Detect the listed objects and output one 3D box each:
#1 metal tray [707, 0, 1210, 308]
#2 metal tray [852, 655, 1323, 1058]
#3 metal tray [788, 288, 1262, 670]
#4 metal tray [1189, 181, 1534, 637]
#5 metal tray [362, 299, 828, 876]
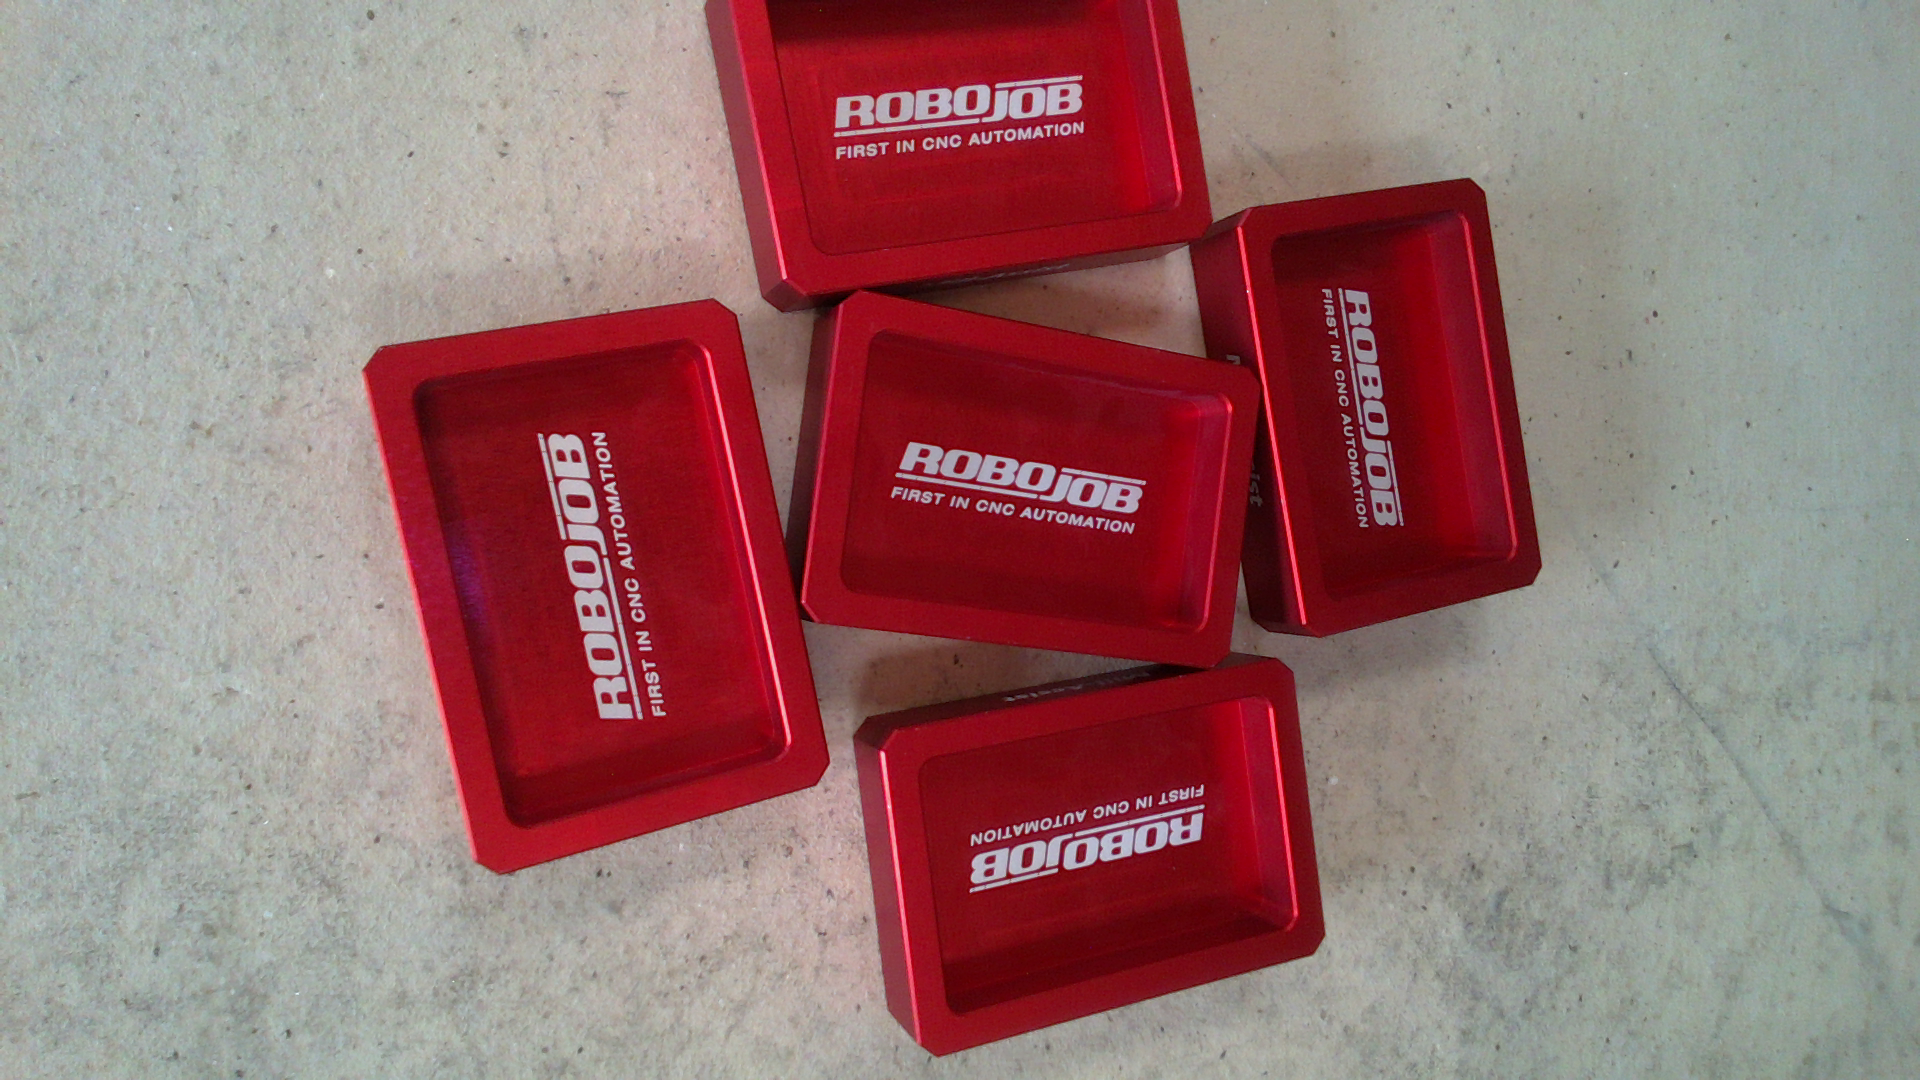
[{"bbox_3d":[0.001,-0.120,0.392,0.130,0.030,0.090,-12,94,-19],"label":"metal tray"},{"bbox_3d":[0.039,0.088,0.405,0.130,0.030,0.090,-8,93,-19],"label":"metal tray"},{"bbox_3d":[0.019,-0.015,0.398,0.130,0.030,0.090,8,89,-19],"label":"metal tray"},{"bbox_3d":[0.129,-0.042,0.438,0.090,0.030,0.130,-11,94,-19],"label":"metal tray"},{"bbox_3d":[-0.093,0.010,0.357,0.090,0.030,0.130,-13,95,-19],"label":"metal tray"}]
